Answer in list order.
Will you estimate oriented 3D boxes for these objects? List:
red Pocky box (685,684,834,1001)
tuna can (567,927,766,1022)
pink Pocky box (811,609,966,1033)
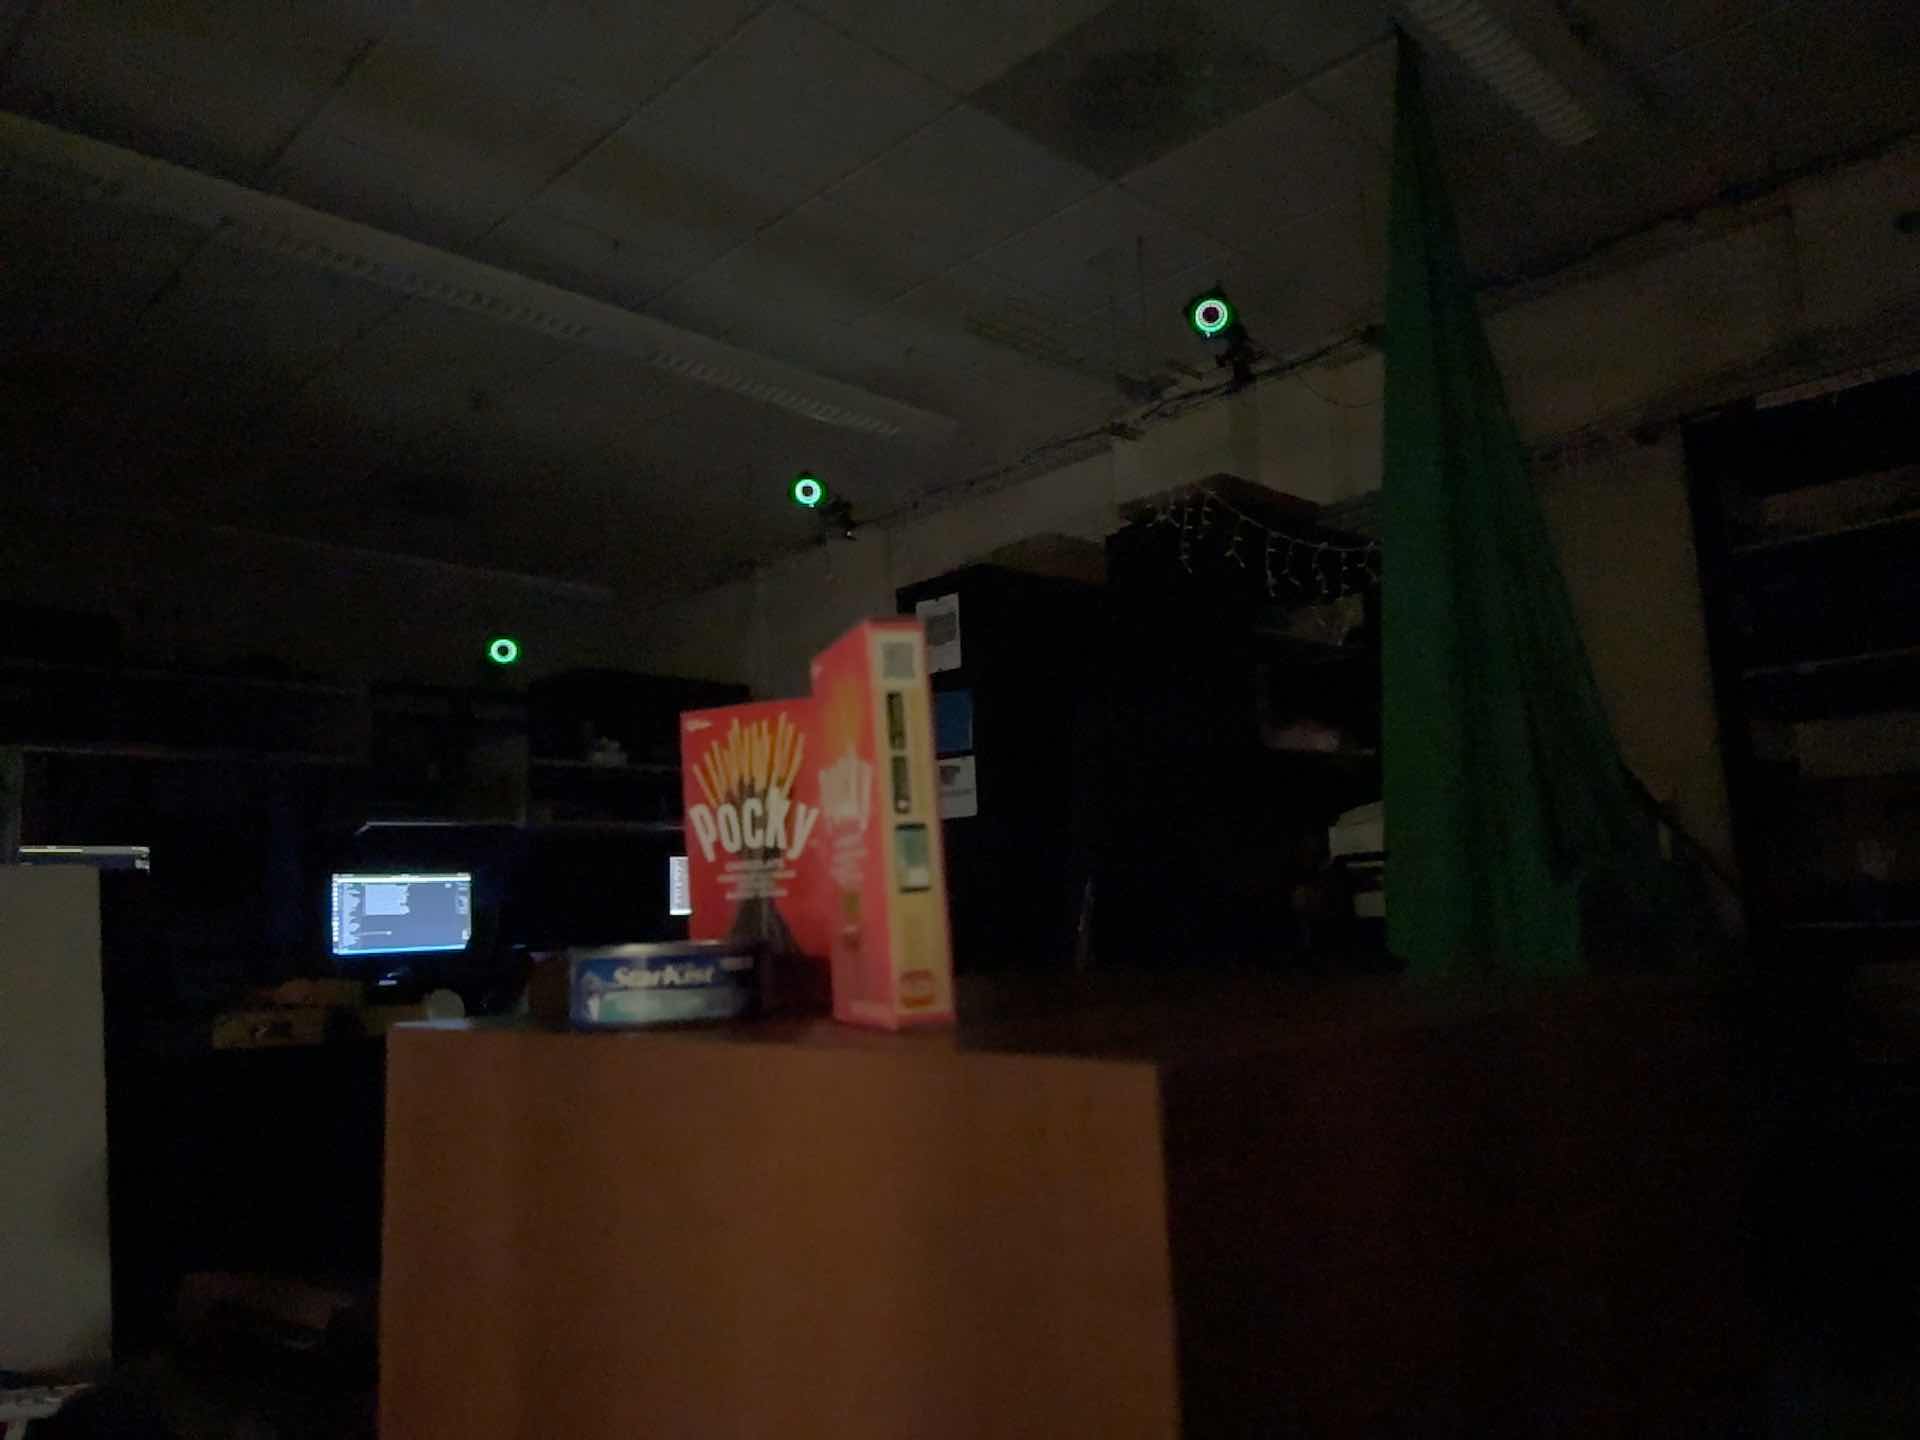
[{"bbox_3d":[-0.098,0.061,0.673,0.083,0.155,0.028,-6,-6,29],"label":"red Pocky box"},{"bbox_3d":[-0.127,0.109,0.585,0.083,0.034,0.083,-3,-7,0],"label":"tuna can"},{"bbox_3d":[-0.031,0.041,0.527,0.029,0.155,0.084,-2,-7,-22],"label":"pink Pocky box"}]
